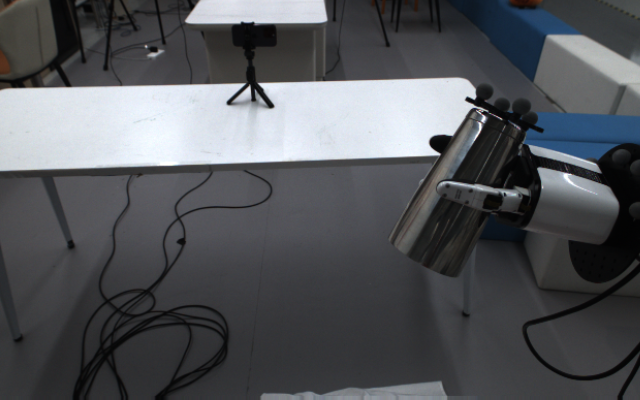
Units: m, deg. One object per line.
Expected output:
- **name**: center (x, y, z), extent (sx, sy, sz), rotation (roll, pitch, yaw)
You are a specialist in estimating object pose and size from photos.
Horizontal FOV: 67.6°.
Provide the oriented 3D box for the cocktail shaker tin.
- **cocktail shaker tin**: center (0.159, -0.013, 0.540), extent (0.093, 0.170, 0.093), rotation (24, 12, -6)
